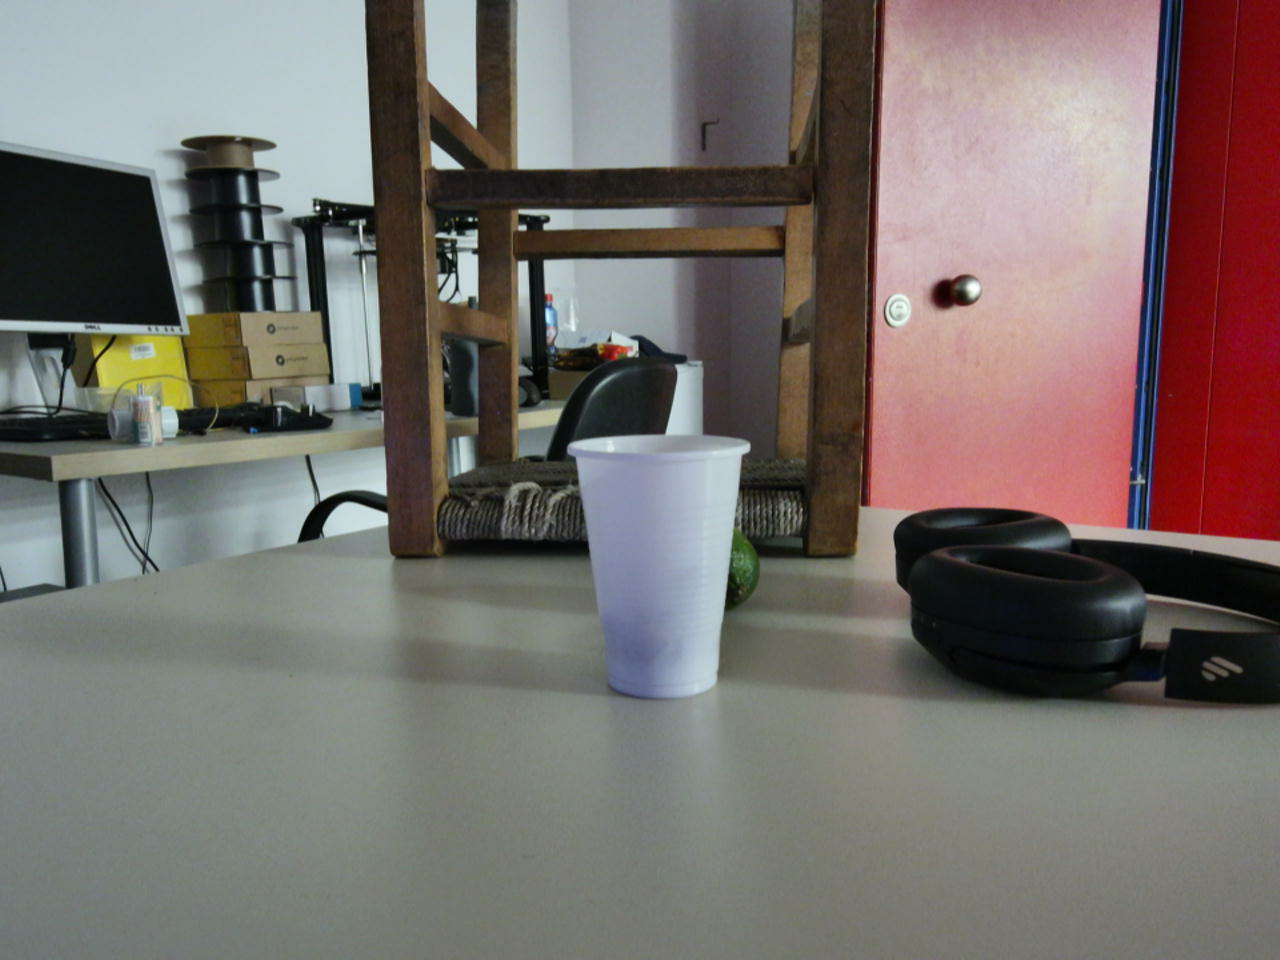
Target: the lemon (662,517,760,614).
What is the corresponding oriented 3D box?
[{"bbox_3d":[0.040,0.046,0.551,0.057,0.051,0.054,4,7,32],"label":"lemon"}]
